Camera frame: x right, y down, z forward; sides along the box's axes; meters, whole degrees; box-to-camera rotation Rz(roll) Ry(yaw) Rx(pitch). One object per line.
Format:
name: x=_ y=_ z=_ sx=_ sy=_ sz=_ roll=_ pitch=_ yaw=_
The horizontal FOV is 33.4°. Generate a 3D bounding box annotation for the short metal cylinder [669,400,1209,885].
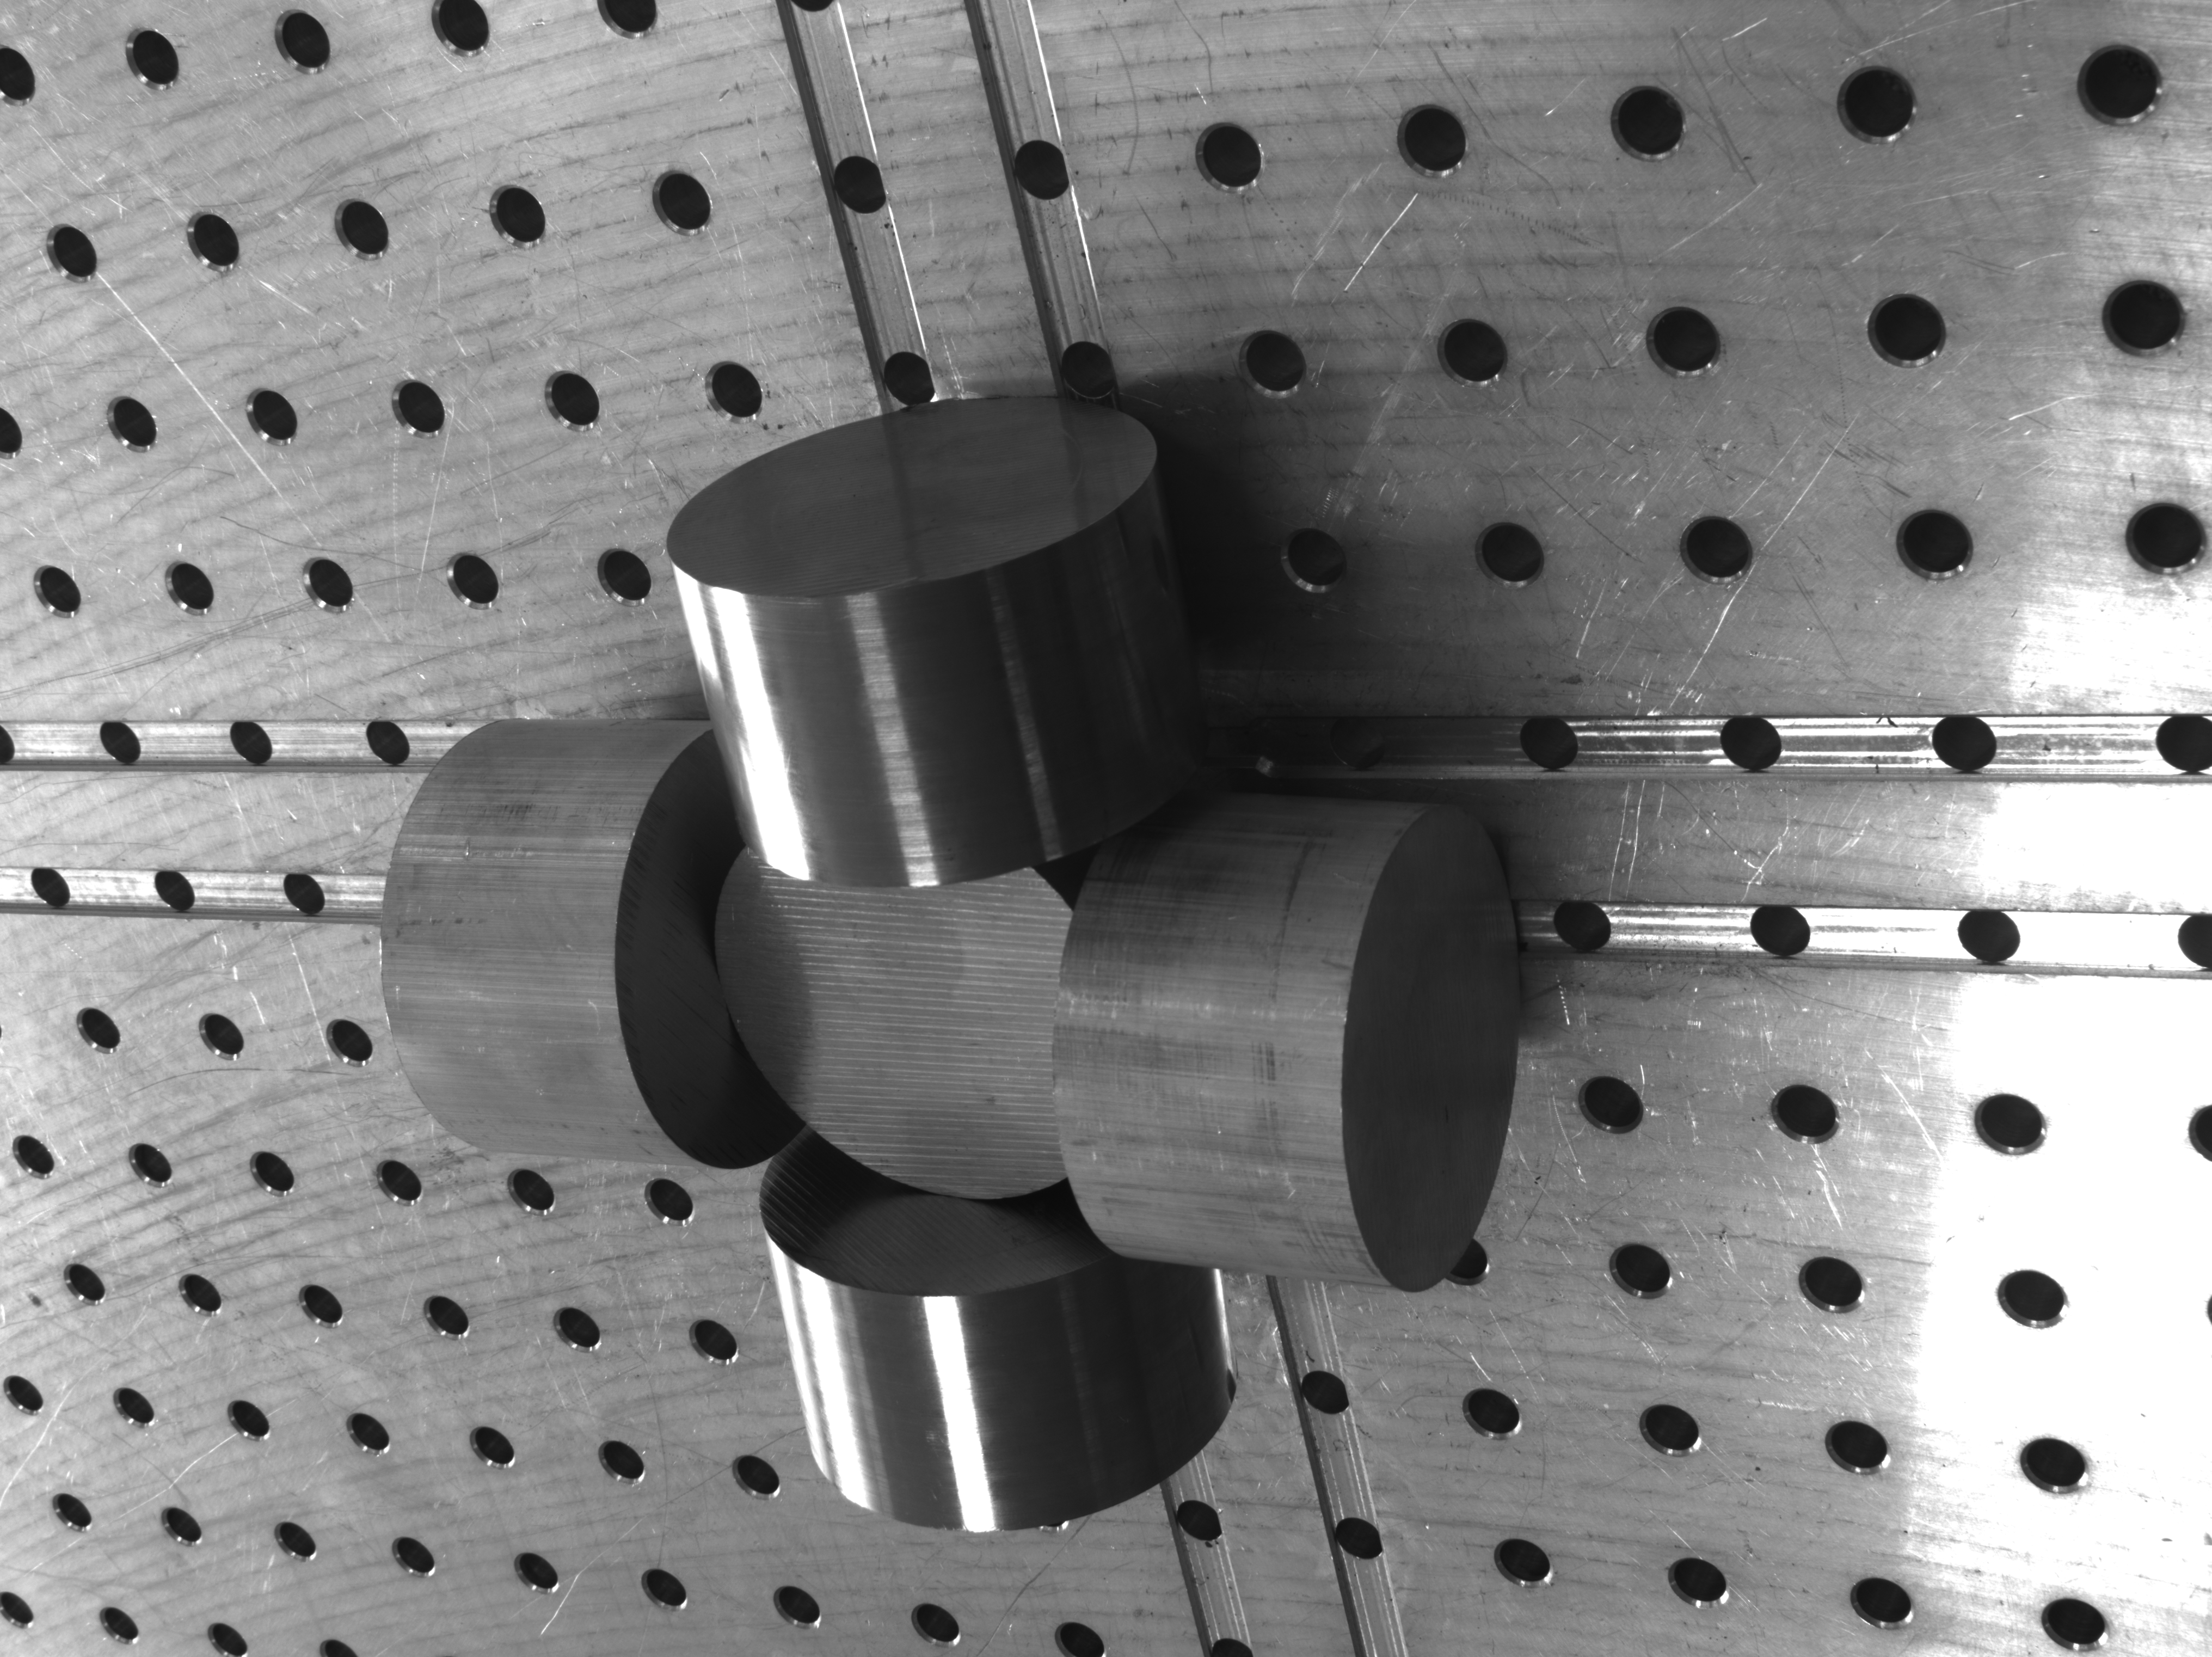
short metal cylinder: x=-0.027 y=-0.032 z=0.604 sx=0.080 sy=0.080 sz=0.050 roll=3 pitch=119 yaw=27

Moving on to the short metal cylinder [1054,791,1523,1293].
short metal cylinder: x=0.032 y=0.035 z=0.614 sx=0.050 sy=0.080 sz=0.080 roll=3 pitch=120 yaw=26

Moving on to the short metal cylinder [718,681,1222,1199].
short metal cylinder: x=-0.021 y=0.018 z=0.652 sx=0.080 sy=0.050 sz=0.080 roll=12 pitch=123 yaw=20

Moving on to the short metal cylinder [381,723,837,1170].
short metal cylinder: x=-0.086 y=0.020 z=0.669 sx=0.050 sy=0.080 sz=0.080 roll=1 pitch=119 yaw=27

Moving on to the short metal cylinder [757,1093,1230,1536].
short metal cylinder: x=-0.019 y=0.083 z=0.670 sx=0.080 sy=0.080 sz=0.050 roll=6 pitch=120 yaw=25
